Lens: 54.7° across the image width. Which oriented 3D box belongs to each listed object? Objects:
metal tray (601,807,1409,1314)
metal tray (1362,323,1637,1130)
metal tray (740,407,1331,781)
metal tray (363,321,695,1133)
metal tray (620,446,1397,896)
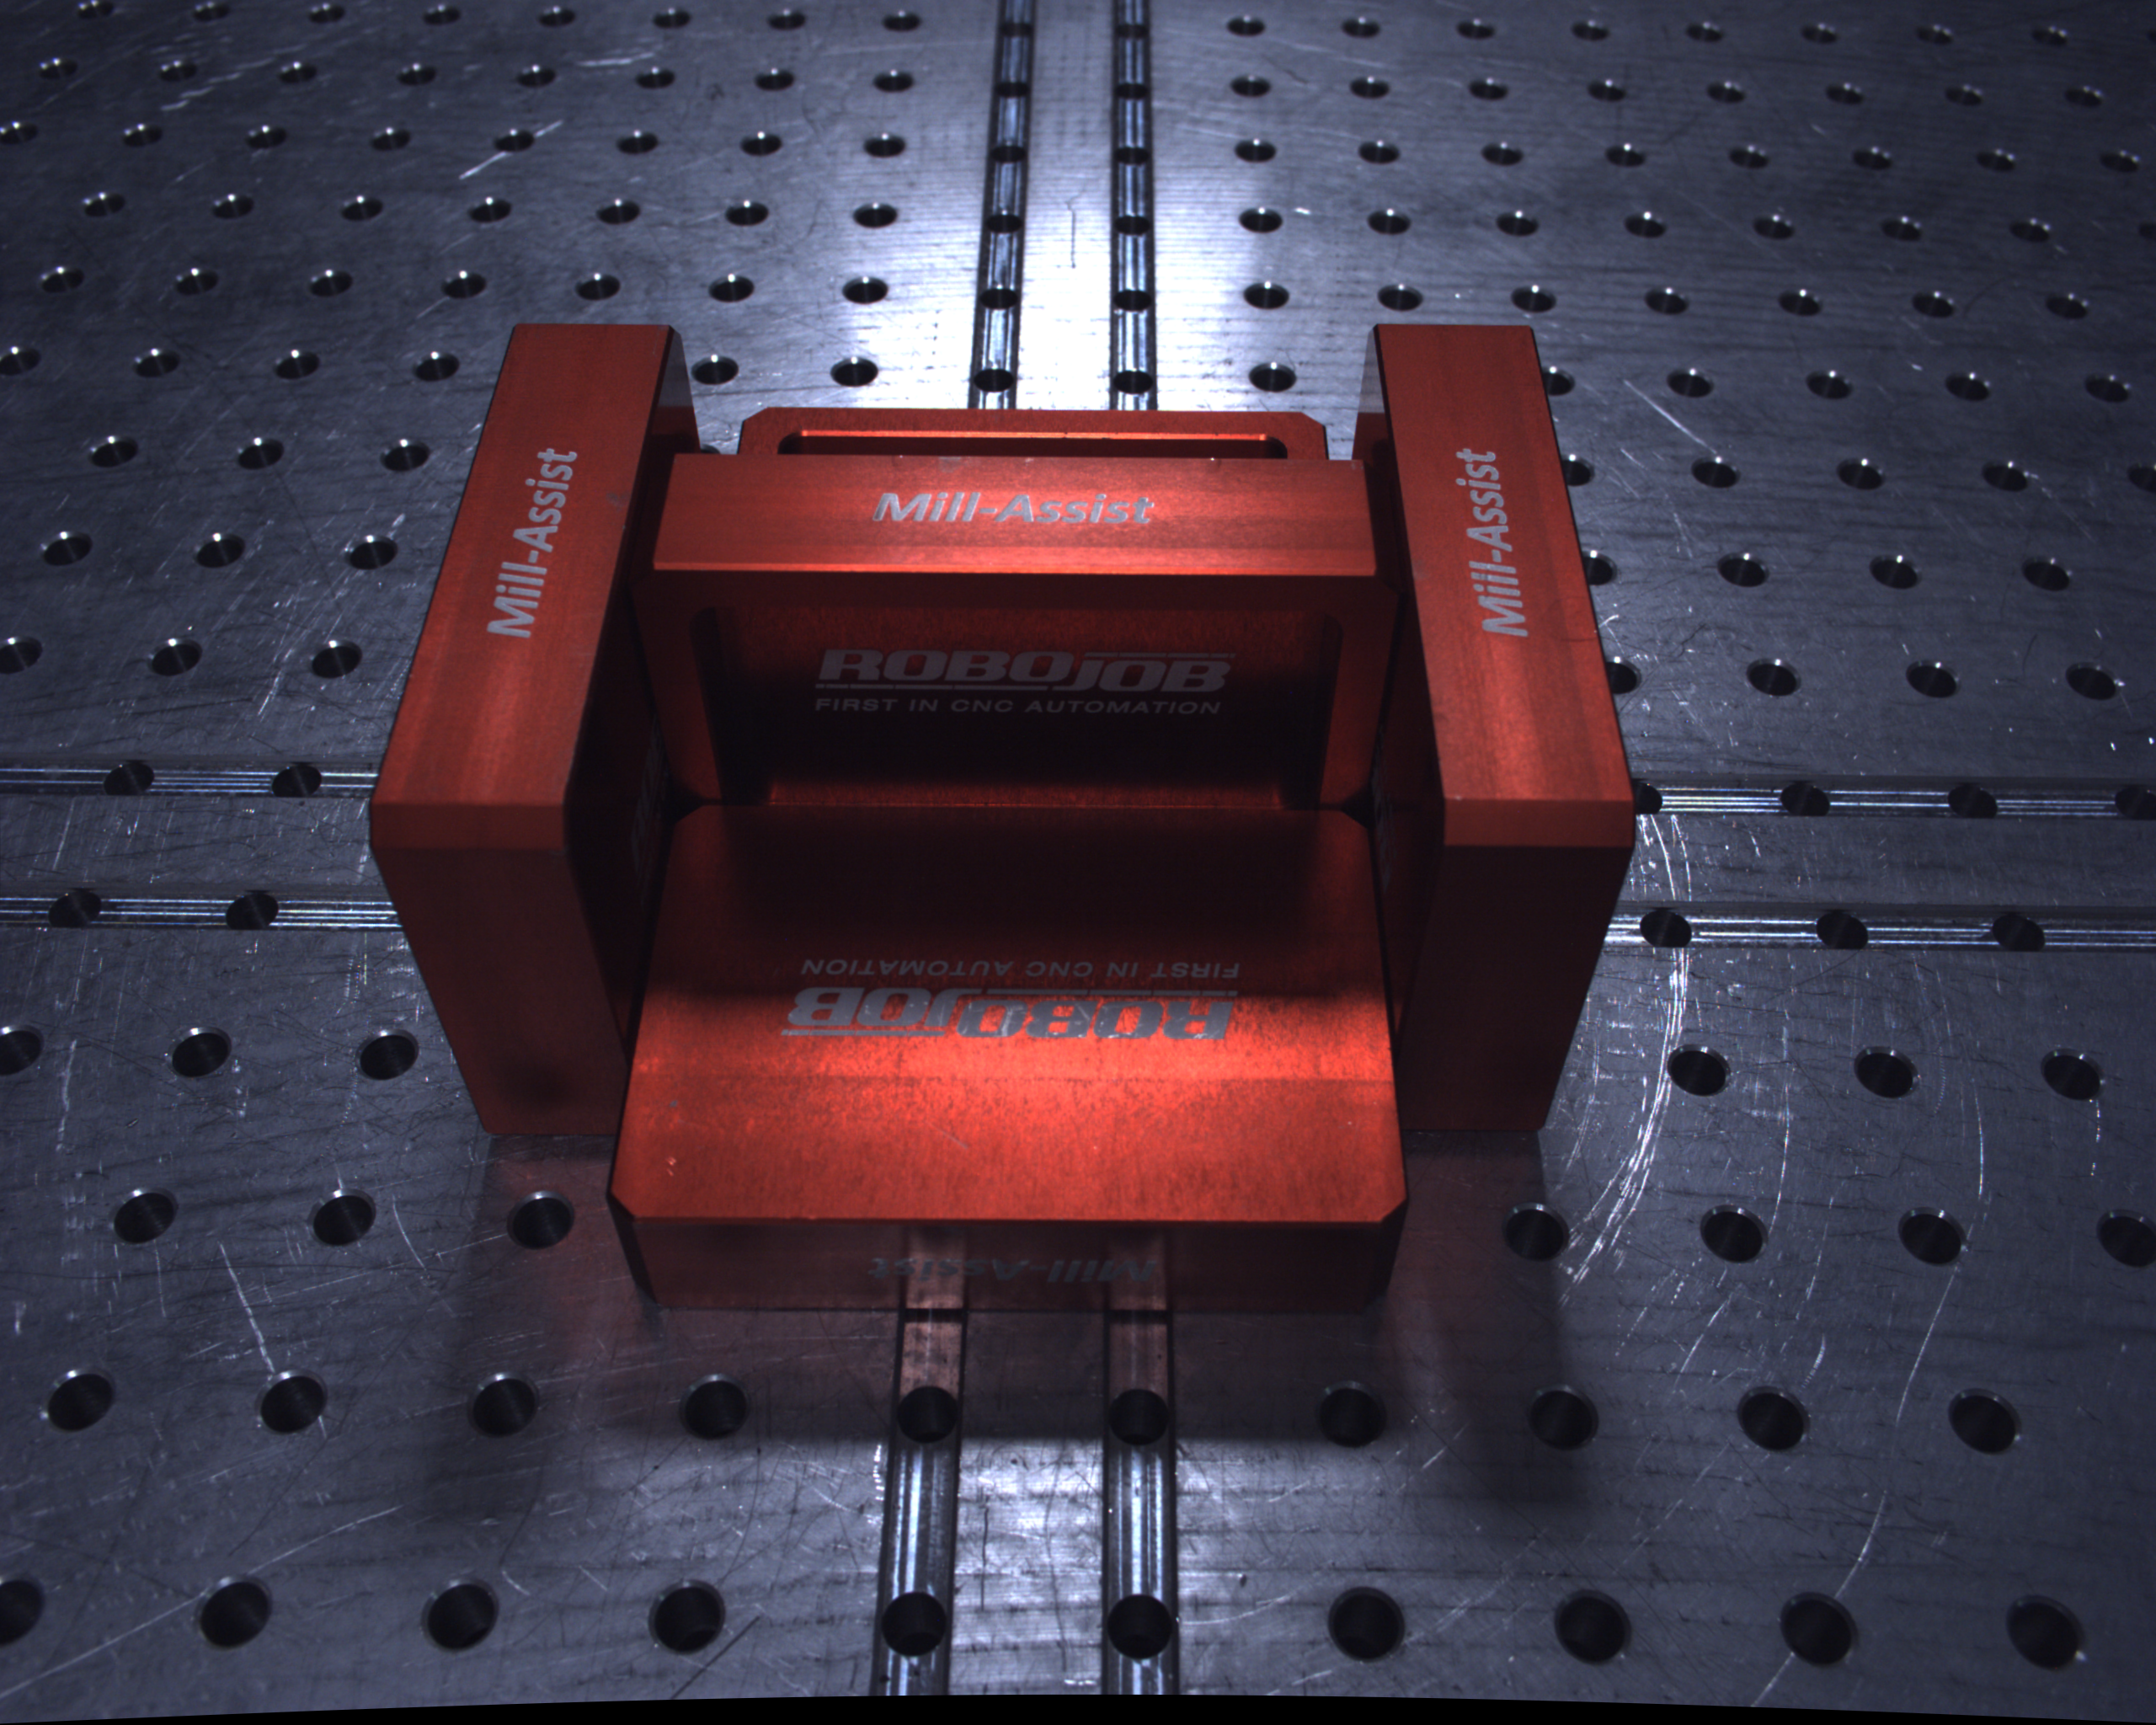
[{"bbox_3d":[-0.012,0.033,0.374,0.131,0.030,0.090,1,50,0],"label":"metal tray"},{"bbox_3d":[0.070,-0.027,0.388,0.030,0.089,0.130,1,50,0],"label":"metal tray"},{"bbox_3d":[-0.010,-0.059,0.454,0.131,0.030,0.090,1,50,0],"label":"metal tray"},{"bbox_3d":[-0.092,-0.027,0.386,0.030,0.089,0.130,1,50,0],"label":"metal tray"},{"bbox_3d":[-0.012,-0.033,0.391,0.131,0.089,0.030,1,50,0],"label":"metal tray"}]
